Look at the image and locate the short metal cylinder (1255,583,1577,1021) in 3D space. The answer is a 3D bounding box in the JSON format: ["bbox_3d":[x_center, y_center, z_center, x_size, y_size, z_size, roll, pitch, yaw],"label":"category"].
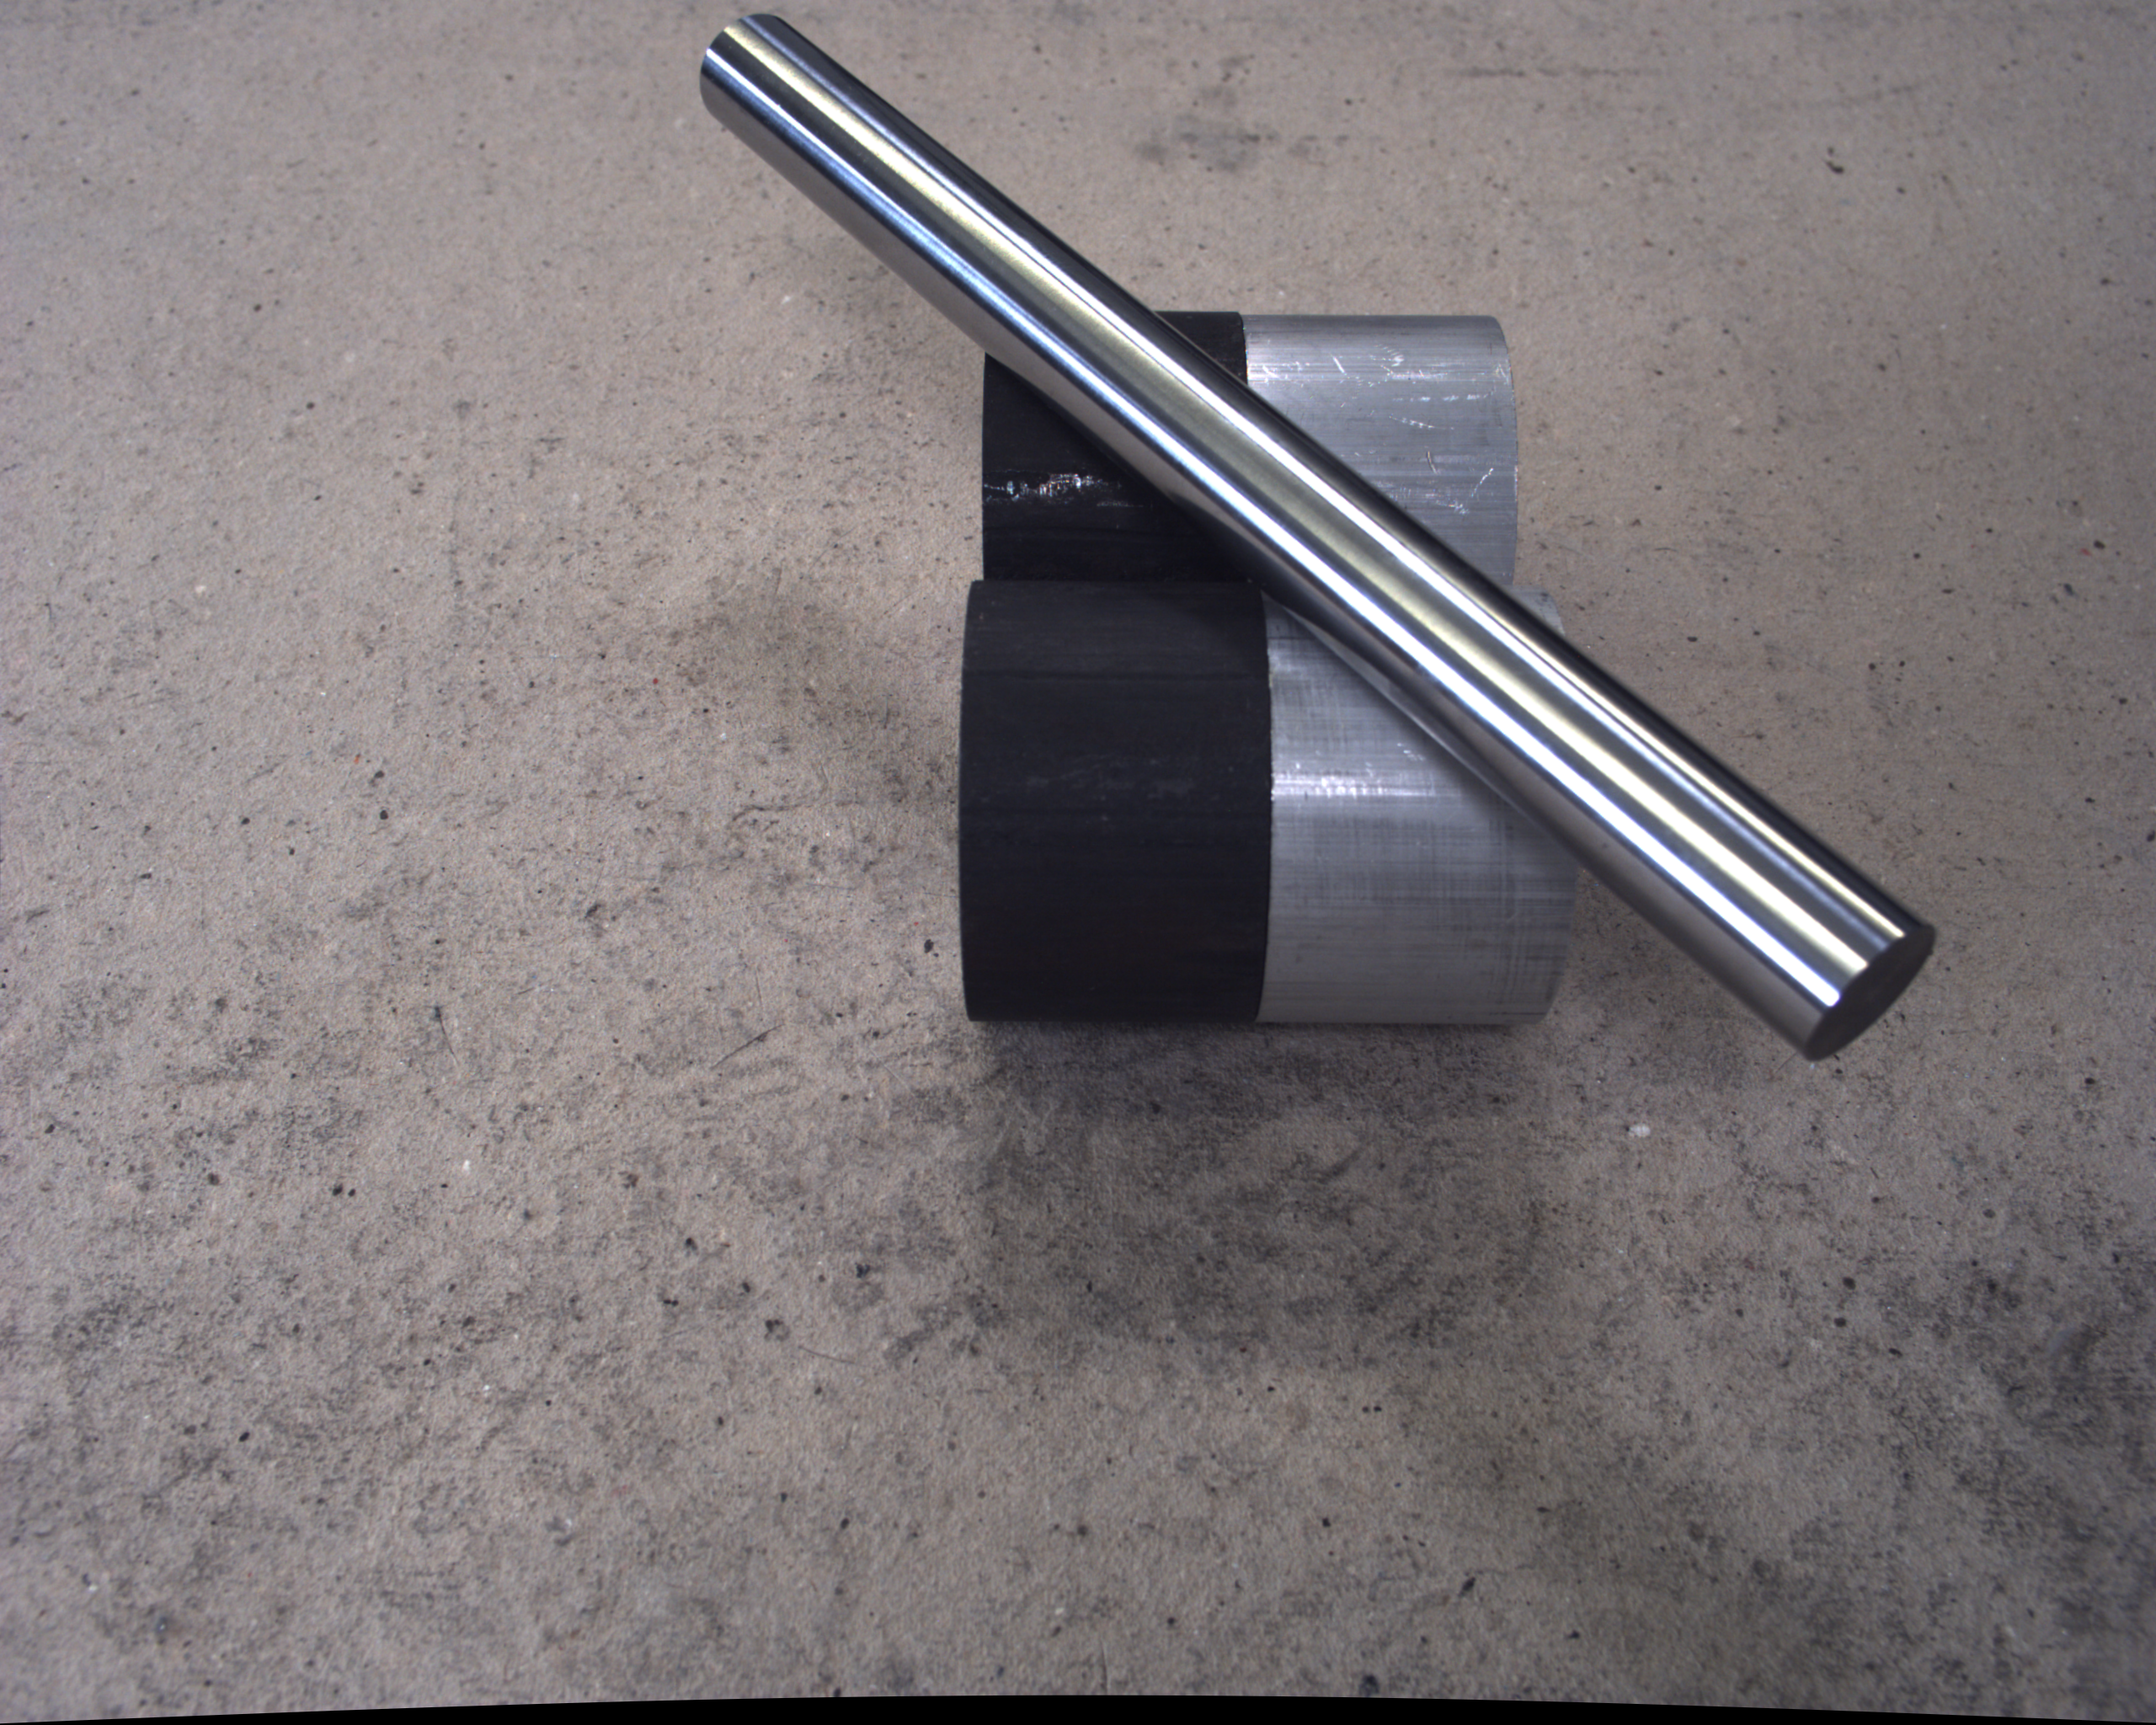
[{"bbox_3d":[0.057,-0.011,0.379,0.050,0.080,0.080,1,50,0],"label":"short metal cylinder"}]

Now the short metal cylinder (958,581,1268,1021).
[{"bbox_3d":[0.006,-0.011,0.378,0.050,0.080,0.080,1,50,0],"label":"short metal cylinder"}]

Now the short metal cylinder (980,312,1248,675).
[{"bbox_3d":[0.007,-0.073,0.430,0.050,0.080,0.080,1,50,0],"label":"short metal cylinder"}]

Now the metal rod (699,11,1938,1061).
[{"bbox_3d":[0.020,-0.075,0.364,0.025,0.025,0.300,-29,56,-22],"label":"metal rod"}]

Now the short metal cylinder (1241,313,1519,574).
[{"bbox_3d":[0.058,-0.072,0.430,0.050,0.080,0.080,1,50,0],"label":"short metal cylinder"}]
